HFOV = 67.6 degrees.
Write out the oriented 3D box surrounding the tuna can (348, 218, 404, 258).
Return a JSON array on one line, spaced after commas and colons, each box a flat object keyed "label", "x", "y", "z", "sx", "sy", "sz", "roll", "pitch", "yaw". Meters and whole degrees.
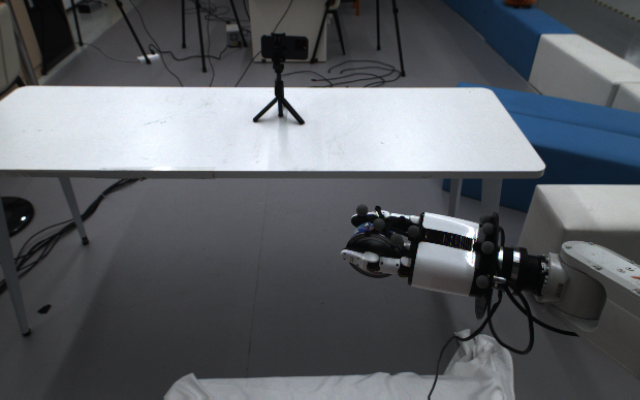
[{"label": "tuna can", "x": 0.086, "y": 0.074, "z": 0.738, "sx": 0.085, "sy": 0.085, "sz": 0.034, "roll": 12, "pitch": 33, "yaw": 14}]
